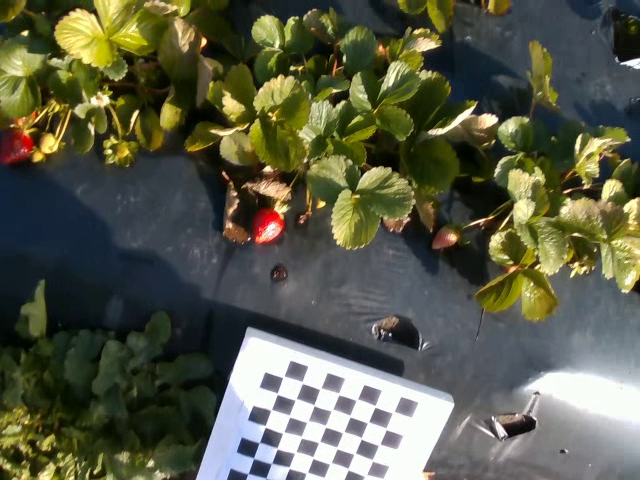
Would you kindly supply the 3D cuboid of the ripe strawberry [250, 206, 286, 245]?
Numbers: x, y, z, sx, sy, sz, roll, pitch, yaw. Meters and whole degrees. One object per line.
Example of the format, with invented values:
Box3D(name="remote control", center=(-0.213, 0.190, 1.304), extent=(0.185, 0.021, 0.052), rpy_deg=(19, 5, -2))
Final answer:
Box3D(name="ripe strawberry", center=(-0.058, -0.007, 0.778), extent=(0.046, 0.054, 0.037), rpy_deg=(39, -33, -15))
